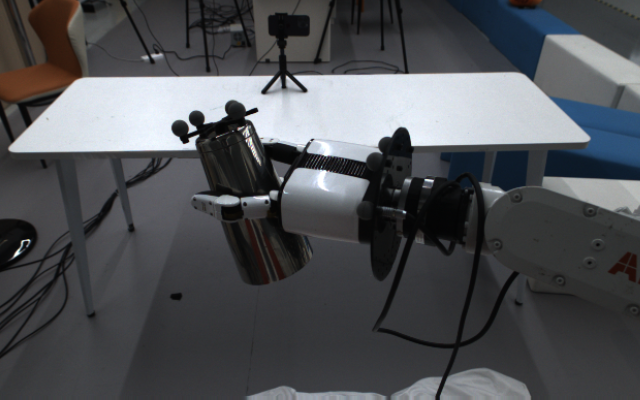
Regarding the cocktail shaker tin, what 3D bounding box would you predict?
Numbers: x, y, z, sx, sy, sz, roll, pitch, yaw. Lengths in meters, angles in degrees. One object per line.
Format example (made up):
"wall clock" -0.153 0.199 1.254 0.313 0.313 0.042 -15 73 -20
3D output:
"cocktail shaker tin" -0.077 0.001 0.552 0.093 0.170 0.093 -17 20 7
